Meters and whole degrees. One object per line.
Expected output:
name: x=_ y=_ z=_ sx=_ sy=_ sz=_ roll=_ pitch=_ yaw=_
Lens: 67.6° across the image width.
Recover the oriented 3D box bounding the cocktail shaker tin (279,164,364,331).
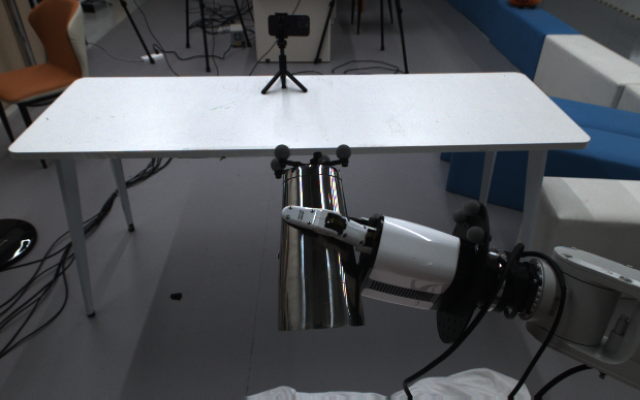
cocktail shaker tin: x=-0.003 y=0.054 z=0.529 sx=0.093 sy=0.093 sz=0.170 roll=-3 pitch=76 yaw=-7
